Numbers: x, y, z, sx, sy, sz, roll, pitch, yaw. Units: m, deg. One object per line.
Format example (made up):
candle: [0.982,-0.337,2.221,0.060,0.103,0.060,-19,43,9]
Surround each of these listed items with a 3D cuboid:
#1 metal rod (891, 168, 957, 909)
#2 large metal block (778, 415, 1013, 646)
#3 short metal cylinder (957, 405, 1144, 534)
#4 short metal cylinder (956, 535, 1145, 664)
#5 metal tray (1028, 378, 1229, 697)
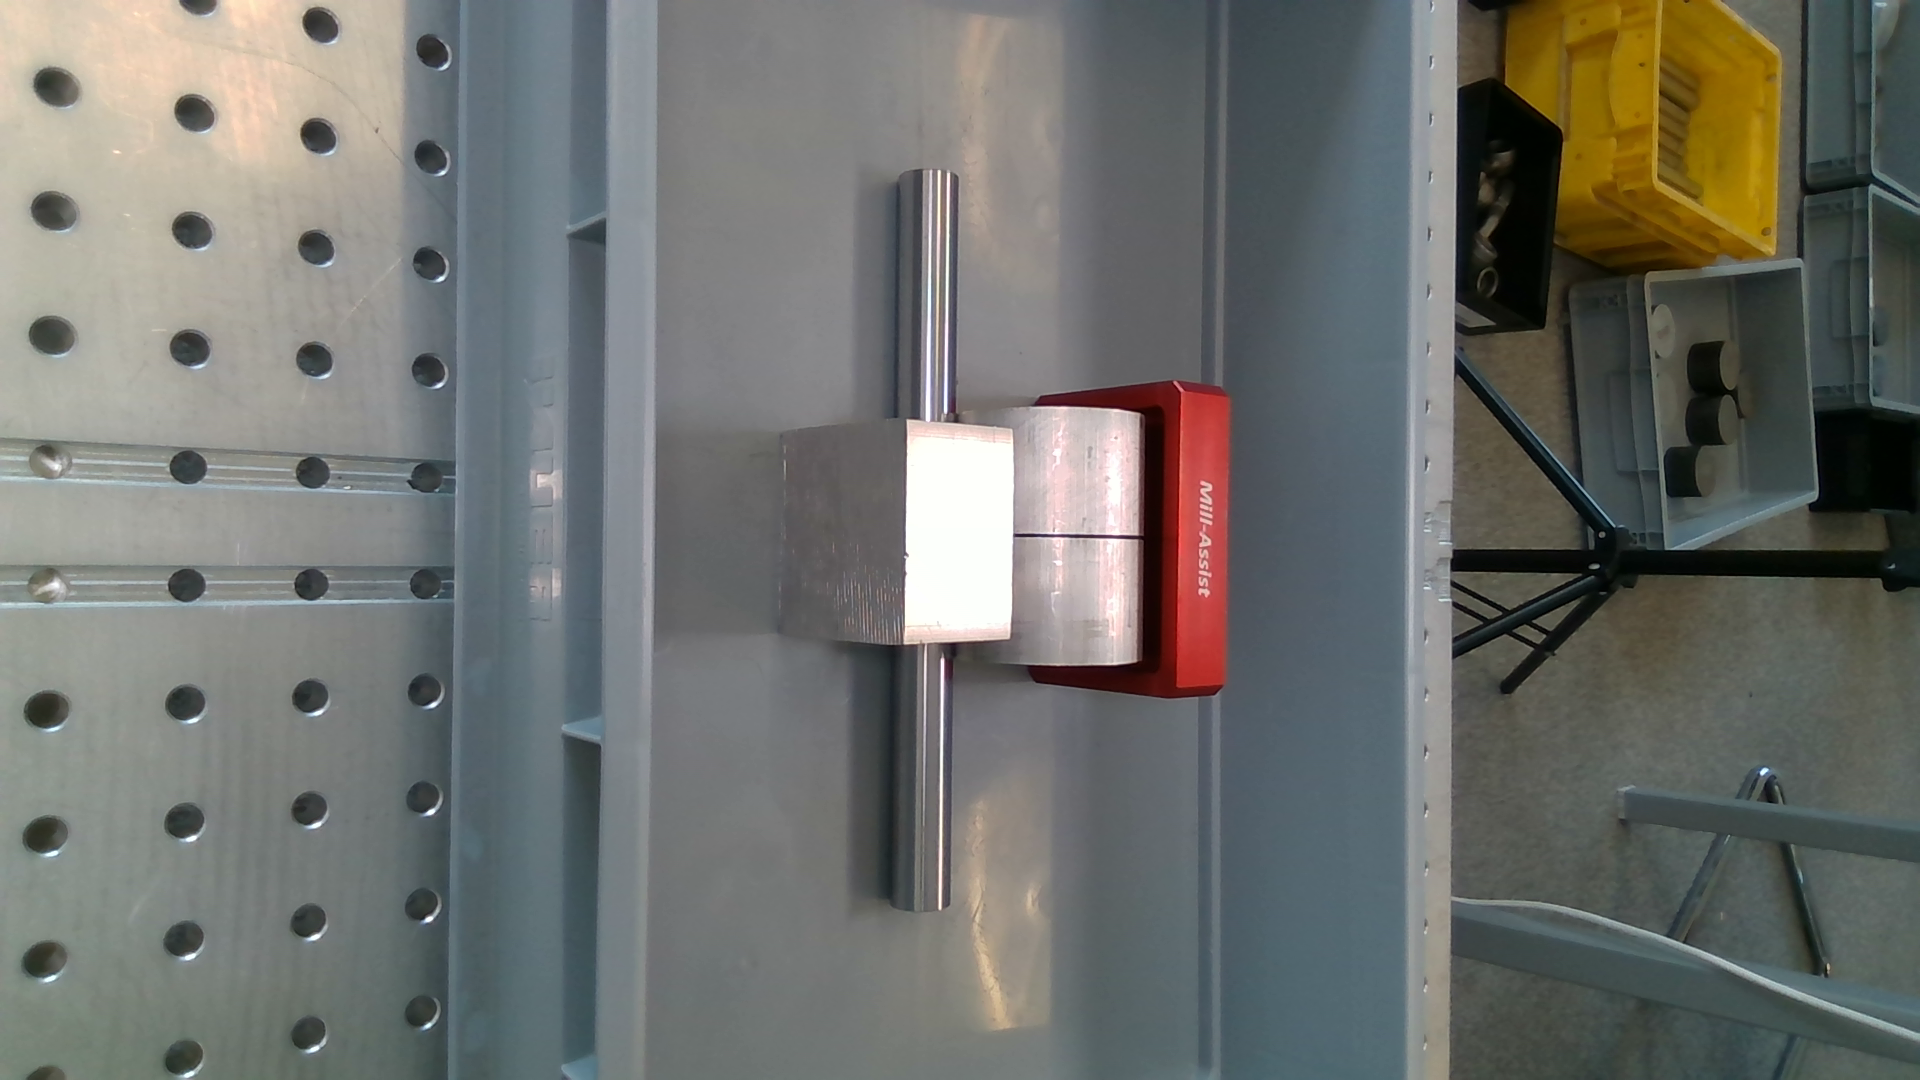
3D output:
metal rod: [-0.015,-0.001,0.569,0.025,0.025,0.300,1,90,-40]
large metal block: [-0.026,-0.003,0.524,0.050,0.080,0.080,1,89,-40]
short metal cylinder: [0.037,-0.028,0.579,0.080,0.080,0.050,1,89,-40]
short metal cylinder: [0.037,0.024,0.579,0.080,0.080,0.050,2,89,-40]
metal tray: [0.072,-0.001,0.600,0.030,0.090,0.130,1,89,-40]
